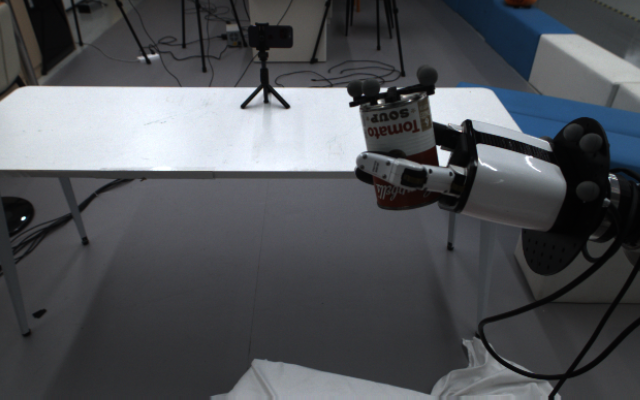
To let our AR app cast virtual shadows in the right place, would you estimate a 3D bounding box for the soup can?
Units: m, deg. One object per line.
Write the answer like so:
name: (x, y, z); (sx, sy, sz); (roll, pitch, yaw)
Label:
soup can: (0.082, -0.050, 0.478); (0.067, 0.101, 0.067); (-12, 17, 4)
